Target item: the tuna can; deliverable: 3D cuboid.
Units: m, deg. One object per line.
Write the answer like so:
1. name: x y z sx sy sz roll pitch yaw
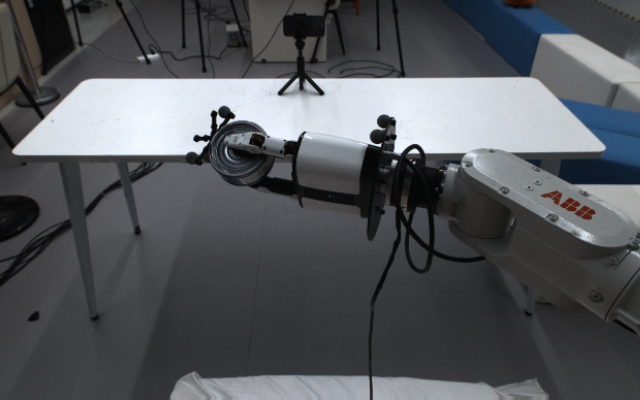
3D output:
1. tuna can: -0.103 -0.060 0.658 0.085 0.034 0.085 -1 74 4
